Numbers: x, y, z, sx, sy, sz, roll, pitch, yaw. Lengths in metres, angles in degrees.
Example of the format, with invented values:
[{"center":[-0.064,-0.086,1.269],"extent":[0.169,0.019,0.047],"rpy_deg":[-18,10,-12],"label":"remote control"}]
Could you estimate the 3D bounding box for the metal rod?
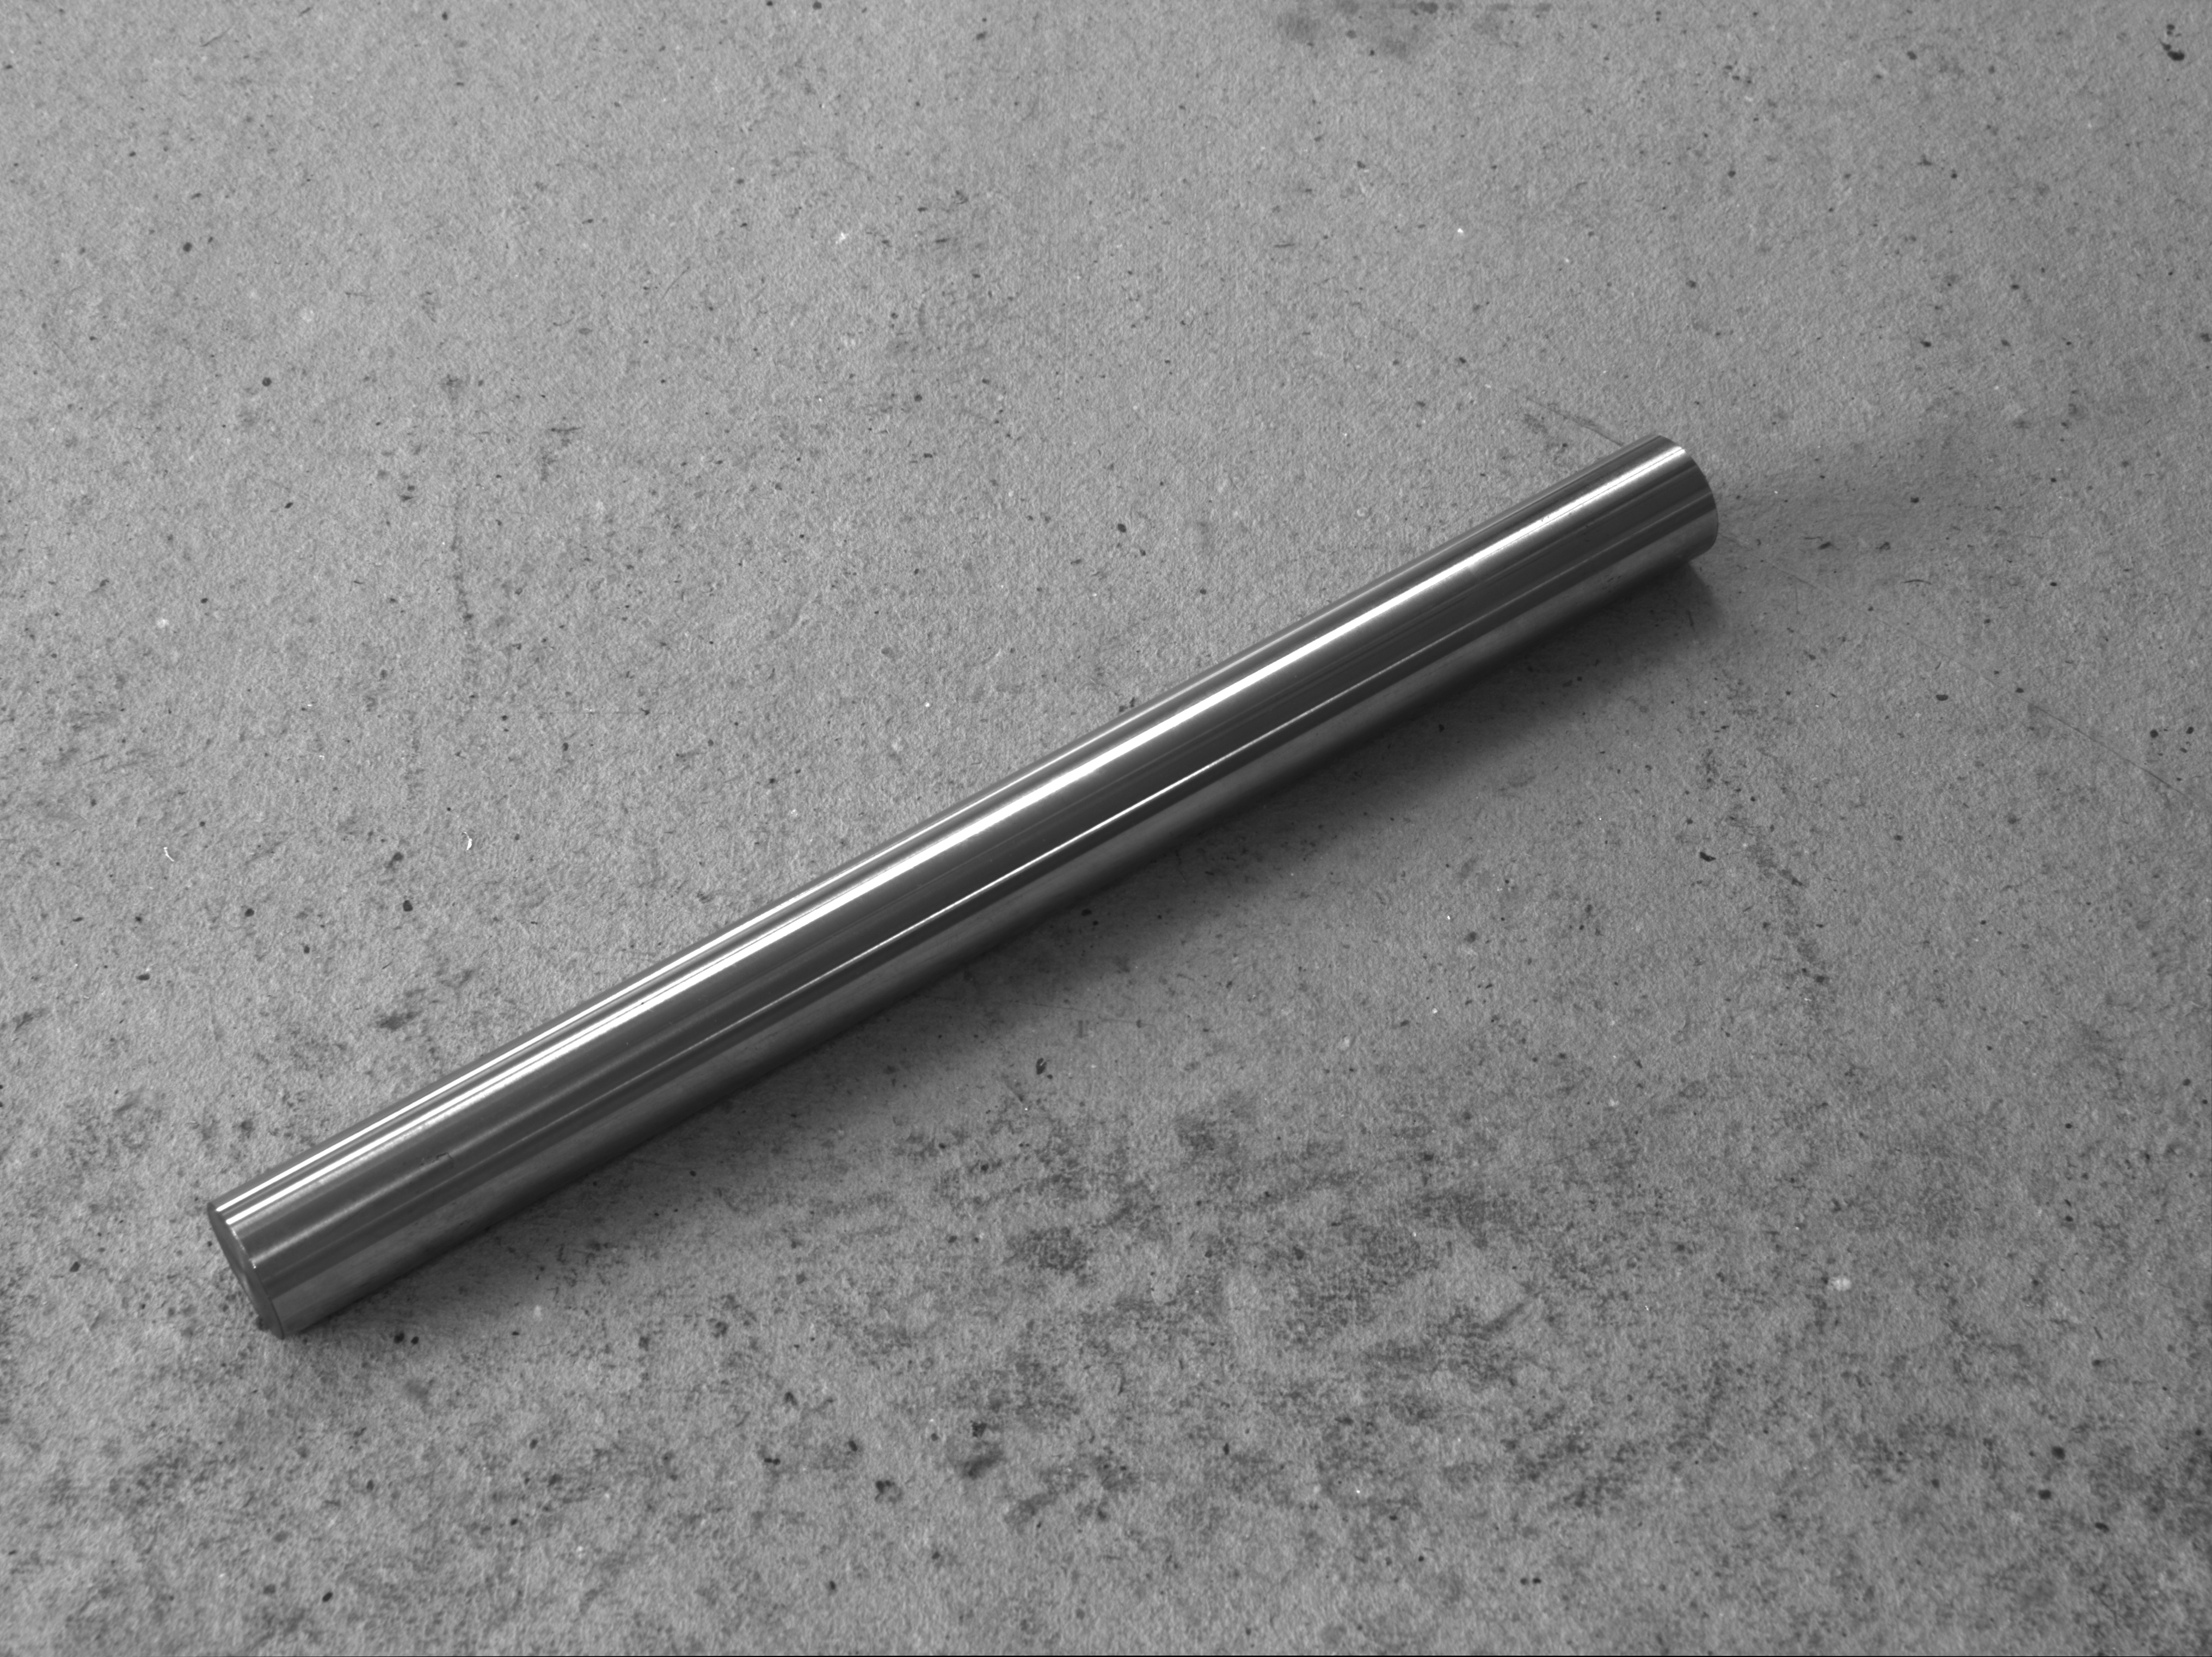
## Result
[{"center":[-0.015,0.004,0.640],"extent":[0.301,0.025,0.025],"rpy_deg":[-29,55,-22],"label":"metal rod"}]
